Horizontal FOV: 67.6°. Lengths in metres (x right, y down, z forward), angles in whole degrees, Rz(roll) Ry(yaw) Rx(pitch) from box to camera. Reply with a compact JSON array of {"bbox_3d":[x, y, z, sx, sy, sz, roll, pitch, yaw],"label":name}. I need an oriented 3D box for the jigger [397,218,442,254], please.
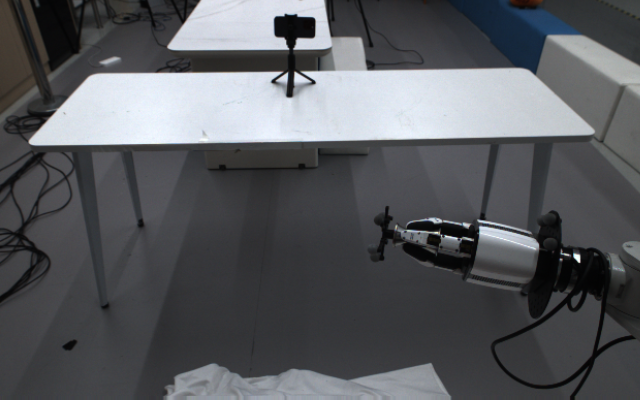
[{"bbox_3d":[0.157,0.055,0.750,0.071,0.043,0.043,8,35,15],"label":"jigger"}]
